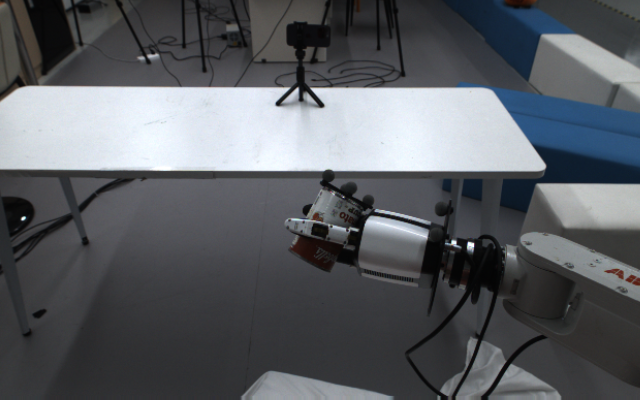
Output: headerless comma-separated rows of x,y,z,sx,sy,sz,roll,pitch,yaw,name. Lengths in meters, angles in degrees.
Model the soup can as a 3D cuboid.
0.010,0.042,0.675,0.067,0.101,0.067,28,-3,2,soup can
